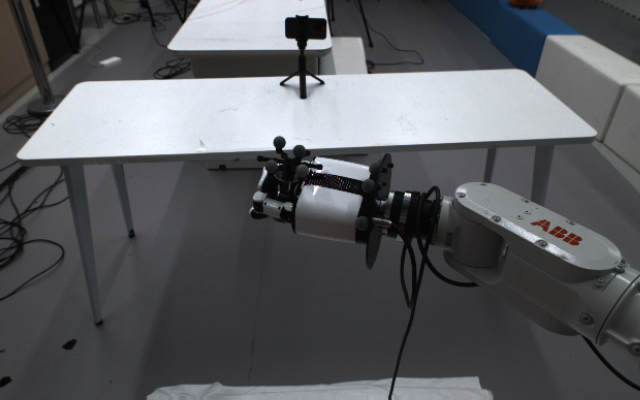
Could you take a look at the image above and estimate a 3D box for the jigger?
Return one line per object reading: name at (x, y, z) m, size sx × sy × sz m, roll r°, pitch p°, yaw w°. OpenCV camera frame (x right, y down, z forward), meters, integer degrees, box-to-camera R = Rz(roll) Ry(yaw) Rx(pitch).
jigger at (-0.045, -0.006, 0.680) m, size 0.043 × 0.071 × 0.043 m, roll 7°, pitch 32°, yaw -4°
